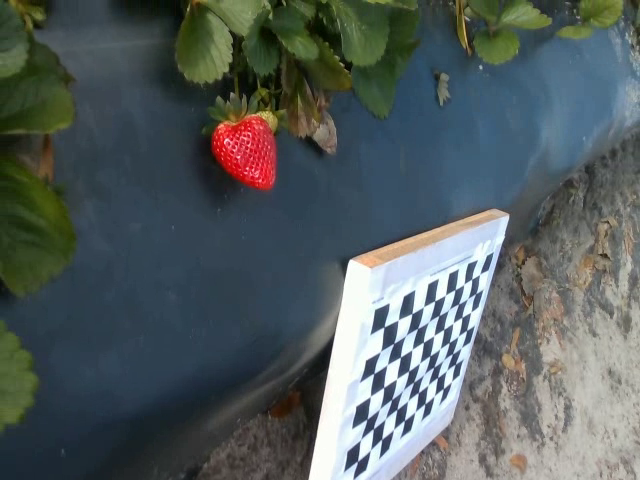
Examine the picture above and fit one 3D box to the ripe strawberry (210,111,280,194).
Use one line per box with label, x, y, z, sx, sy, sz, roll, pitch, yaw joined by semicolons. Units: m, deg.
ripe strawberry;-0.044;-0.053;0.378;0.050;0.058;0.045;-37;-16;35
